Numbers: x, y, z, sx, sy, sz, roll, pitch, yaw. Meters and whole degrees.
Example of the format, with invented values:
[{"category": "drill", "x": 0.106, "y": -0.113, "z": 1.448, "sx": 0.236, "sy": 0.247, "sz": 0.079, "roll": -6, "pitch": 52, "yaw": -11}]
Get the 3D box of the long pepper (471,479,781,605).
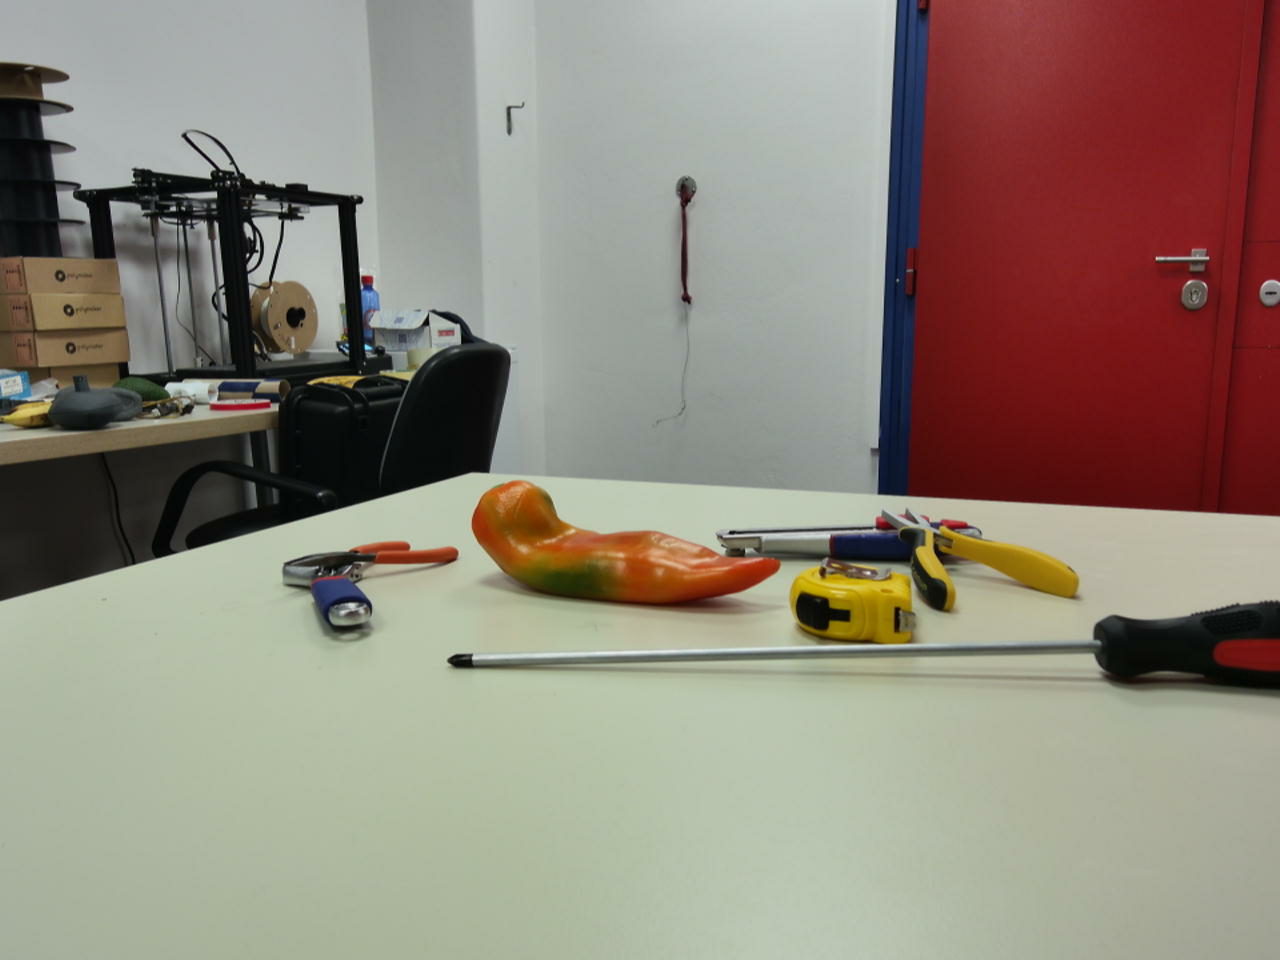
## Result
[{"category": "long pepper", "x": -0.014, "y": 0.037, "z": 0.599, "sx": 0.199, "sy": 0.065, "sz": 0.066, "roll": 4, "pitch": 8, "yaw": 28}]
